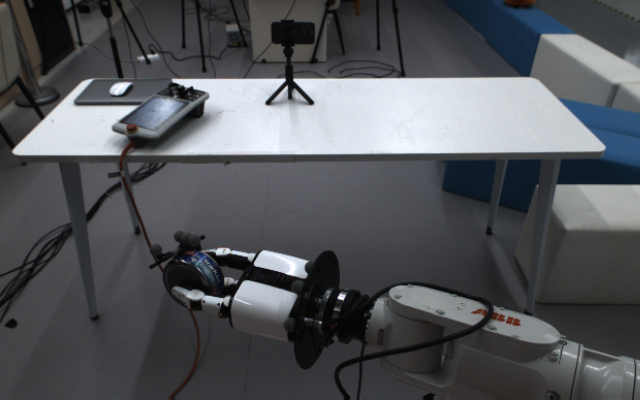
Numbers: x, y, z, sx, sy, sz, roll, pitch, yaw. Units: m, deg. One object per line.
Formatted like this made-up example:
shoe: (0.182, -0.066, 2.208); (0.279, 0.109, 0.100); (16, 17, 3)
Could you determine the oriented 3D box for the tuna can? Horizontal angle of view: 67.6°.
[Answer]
tuna can: (-0.181, 0.123, 0.700); (0.085, 0.085, 0.034); (15, 30, 17)
